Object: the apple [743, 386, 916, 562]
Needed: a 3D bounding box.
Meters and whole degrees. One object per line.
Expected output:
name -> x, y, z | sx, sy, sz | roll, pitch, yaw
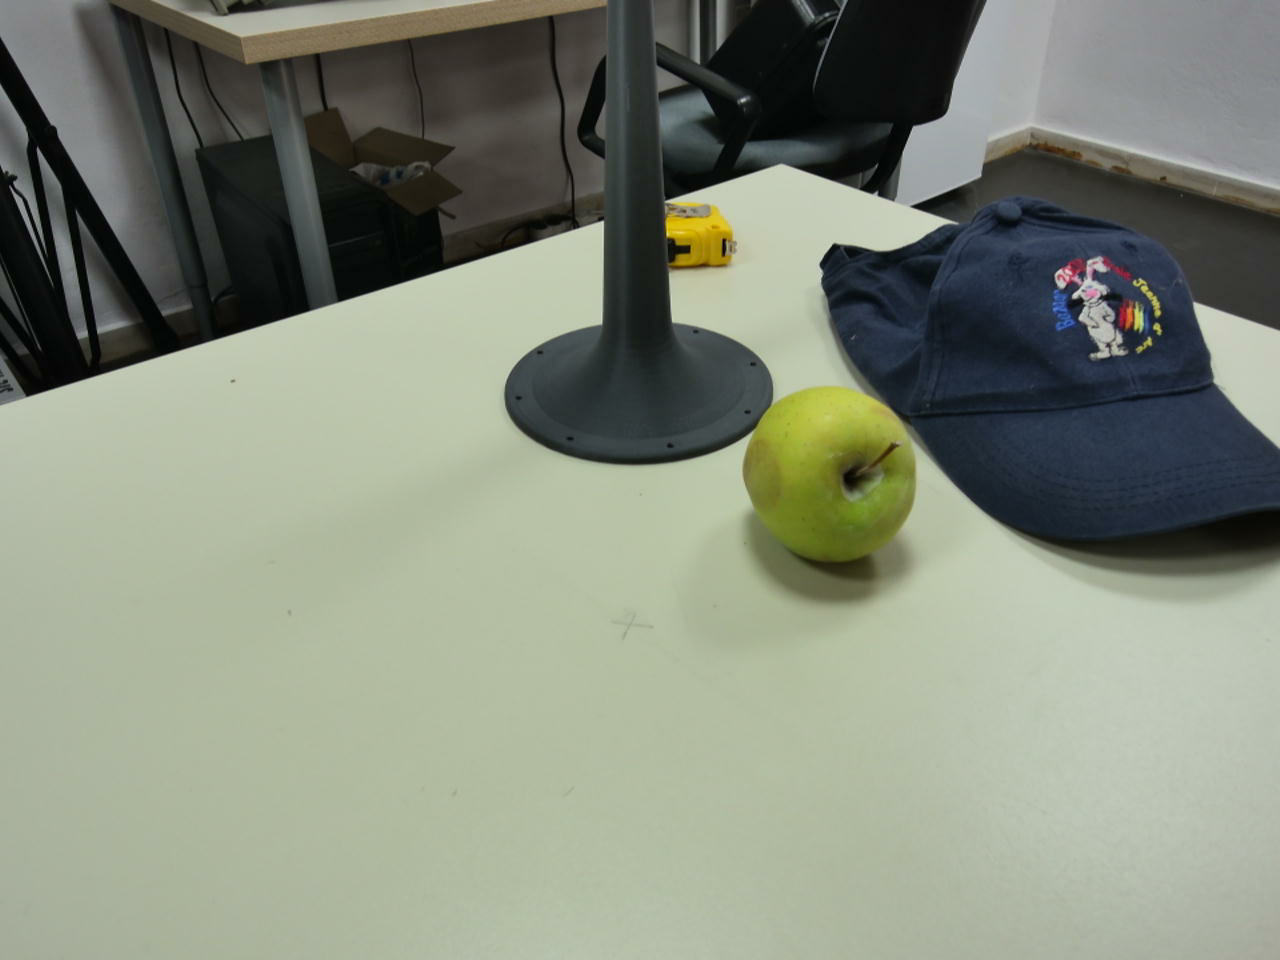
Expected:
apple -> 0.081, -0.005, 0.430 | 0.072, 0.075, 0.077 | 4, 35, 6
